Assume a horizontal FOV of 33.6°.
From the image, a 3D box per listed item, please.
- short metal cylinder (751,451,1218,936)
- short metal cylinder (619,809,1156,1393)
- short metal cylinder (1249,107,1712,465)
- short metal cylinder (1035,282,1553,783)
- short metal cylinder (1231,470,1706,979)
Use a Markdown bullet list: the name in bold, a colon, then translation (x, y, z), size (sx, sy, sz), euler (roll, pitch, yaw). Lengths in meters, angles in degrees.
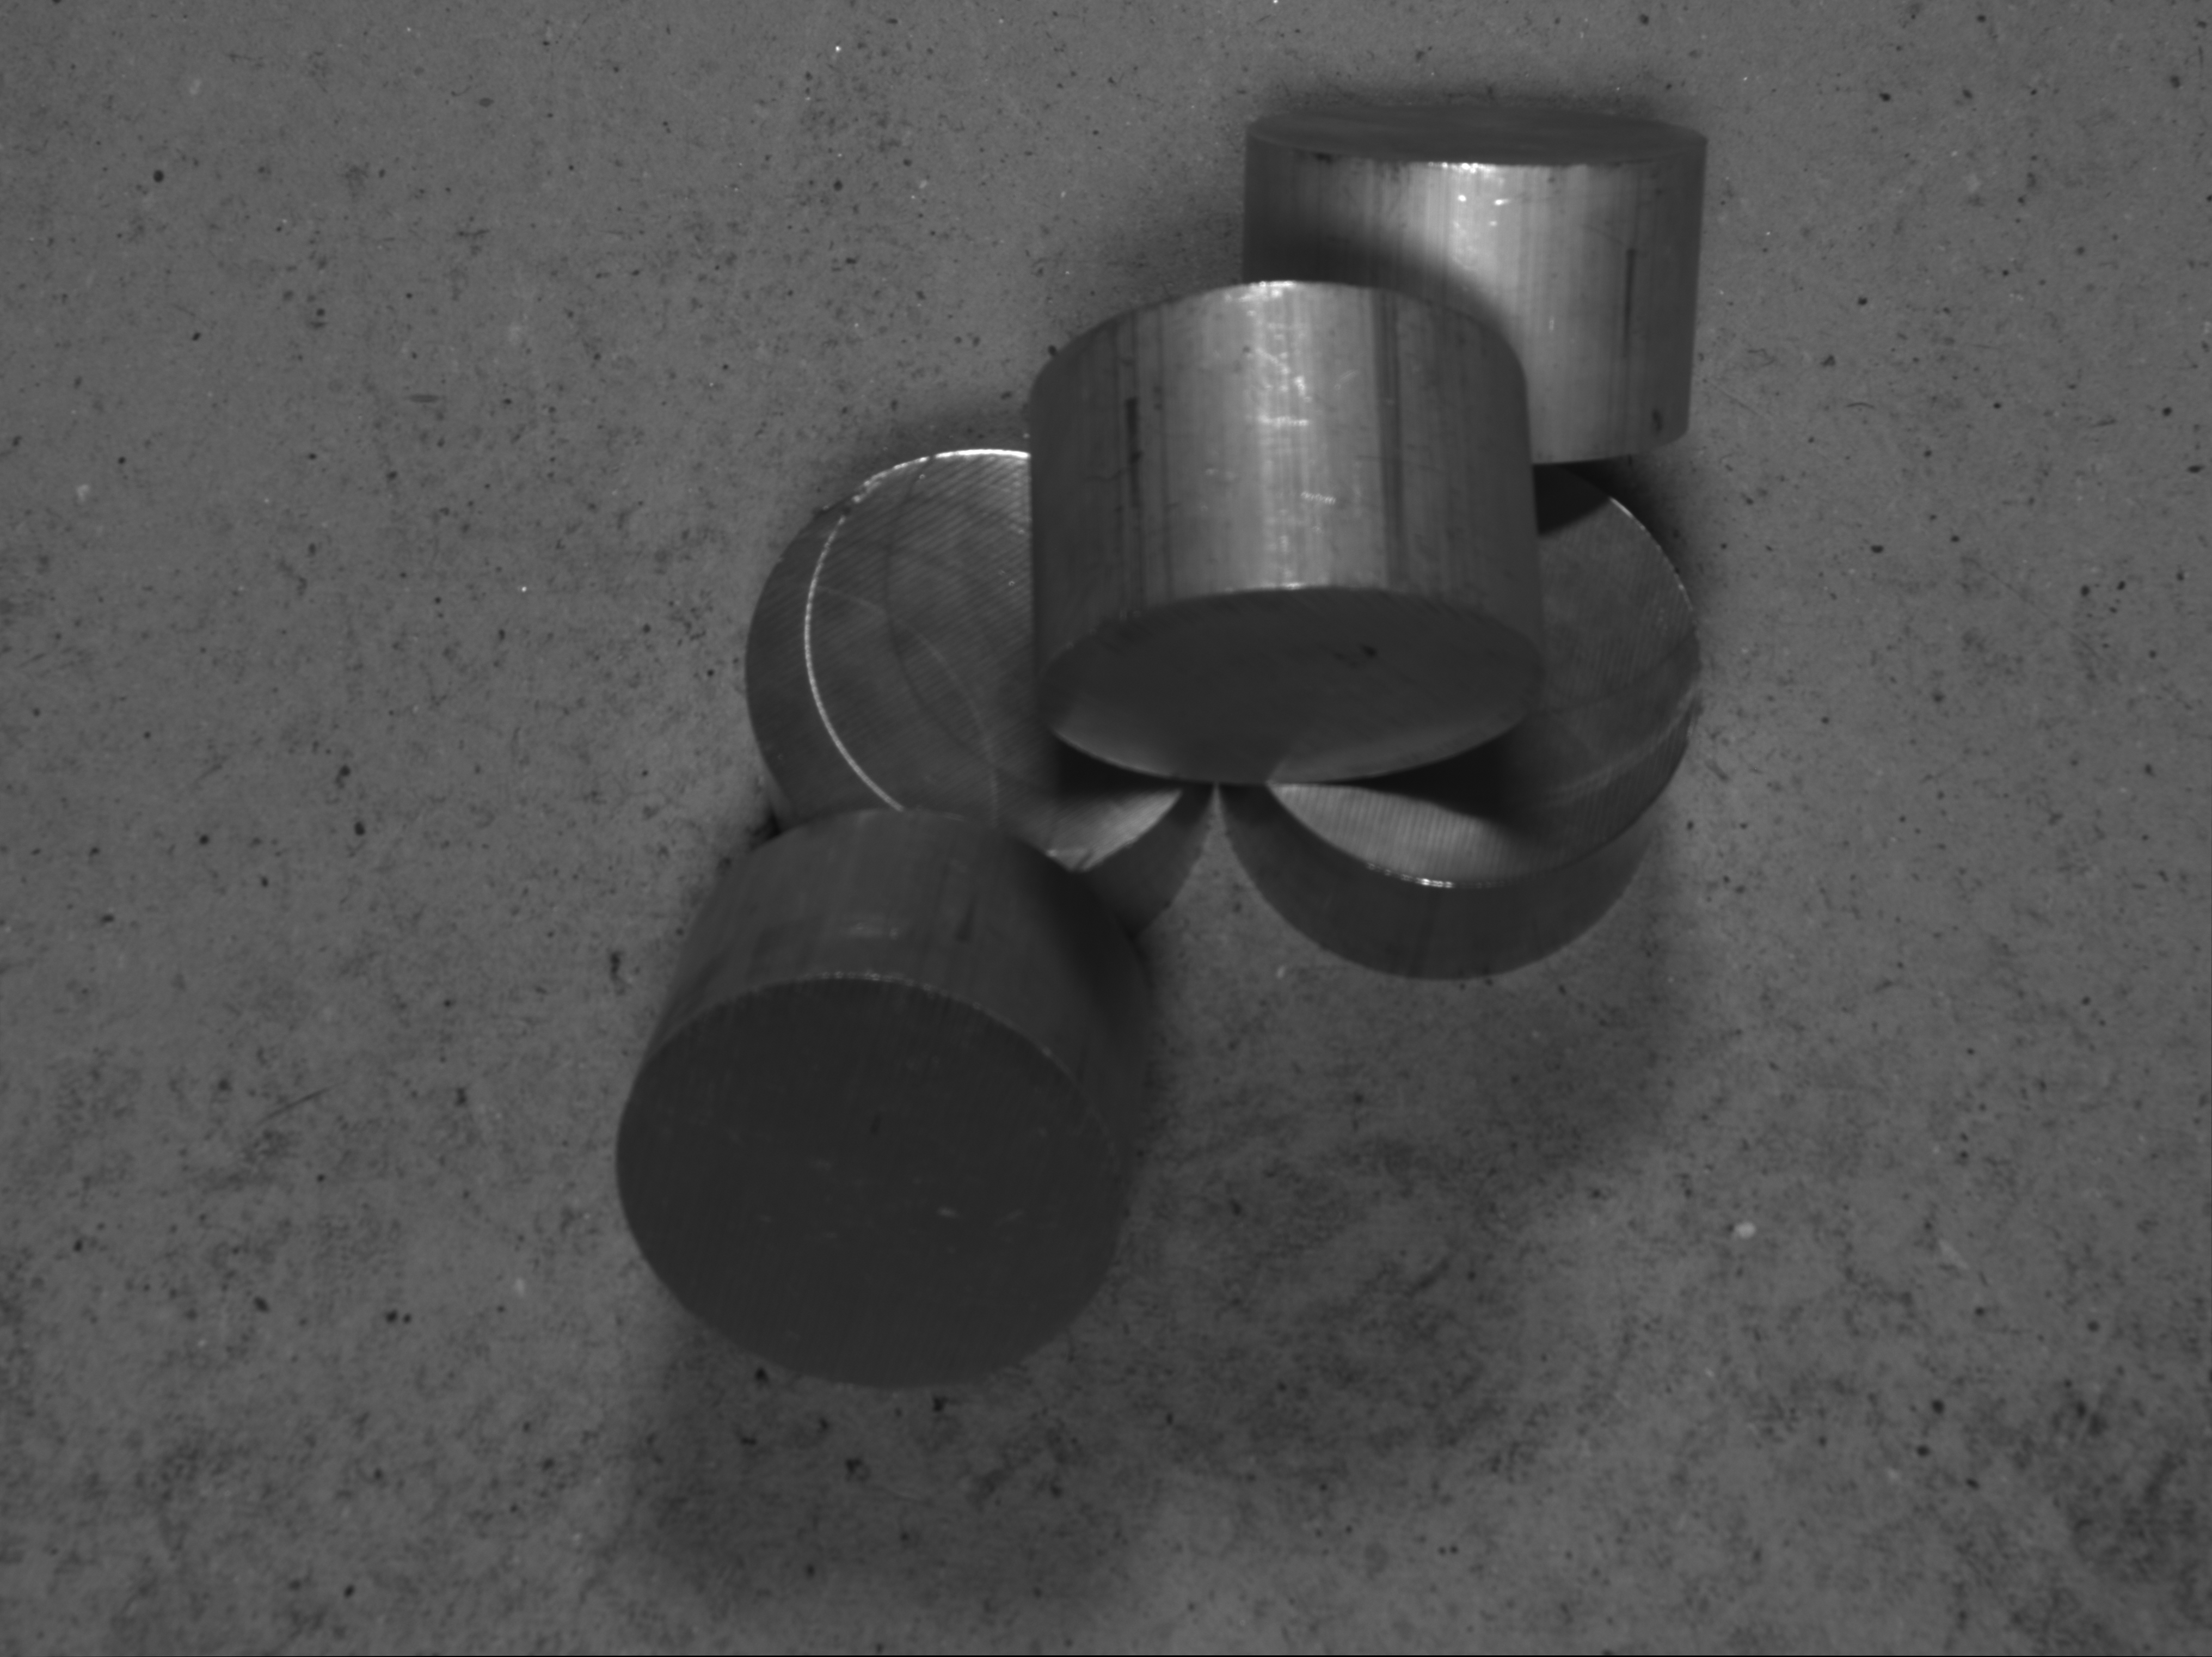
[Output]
- **short metal cylinder**: translation (-0.020, -0.019, 0.638), size (0.080, 0.050, 0.080), euler (0, 70, 0)
- **short metal cylinder**: translation (-0.034, 0.044, 0.592), size (0.080, 0.080, 0.050), euler (7, 31, 3)
- **short metal cylinder**: translation (0.065, -0.097, 0.644), size (0.080, 0.080, 0.050), euler (1, 108, 0)
- **short metal cylinder**: translation (0.029, -0.045, 0.579), size (0.080, 0.080, 0.050), euler (-1, 70, 0)
- **short metal cylinder**: translation (0.061, -0.020, 0.638), size (0.080, 0.050, 0.080), euler (0, 70, 0)
